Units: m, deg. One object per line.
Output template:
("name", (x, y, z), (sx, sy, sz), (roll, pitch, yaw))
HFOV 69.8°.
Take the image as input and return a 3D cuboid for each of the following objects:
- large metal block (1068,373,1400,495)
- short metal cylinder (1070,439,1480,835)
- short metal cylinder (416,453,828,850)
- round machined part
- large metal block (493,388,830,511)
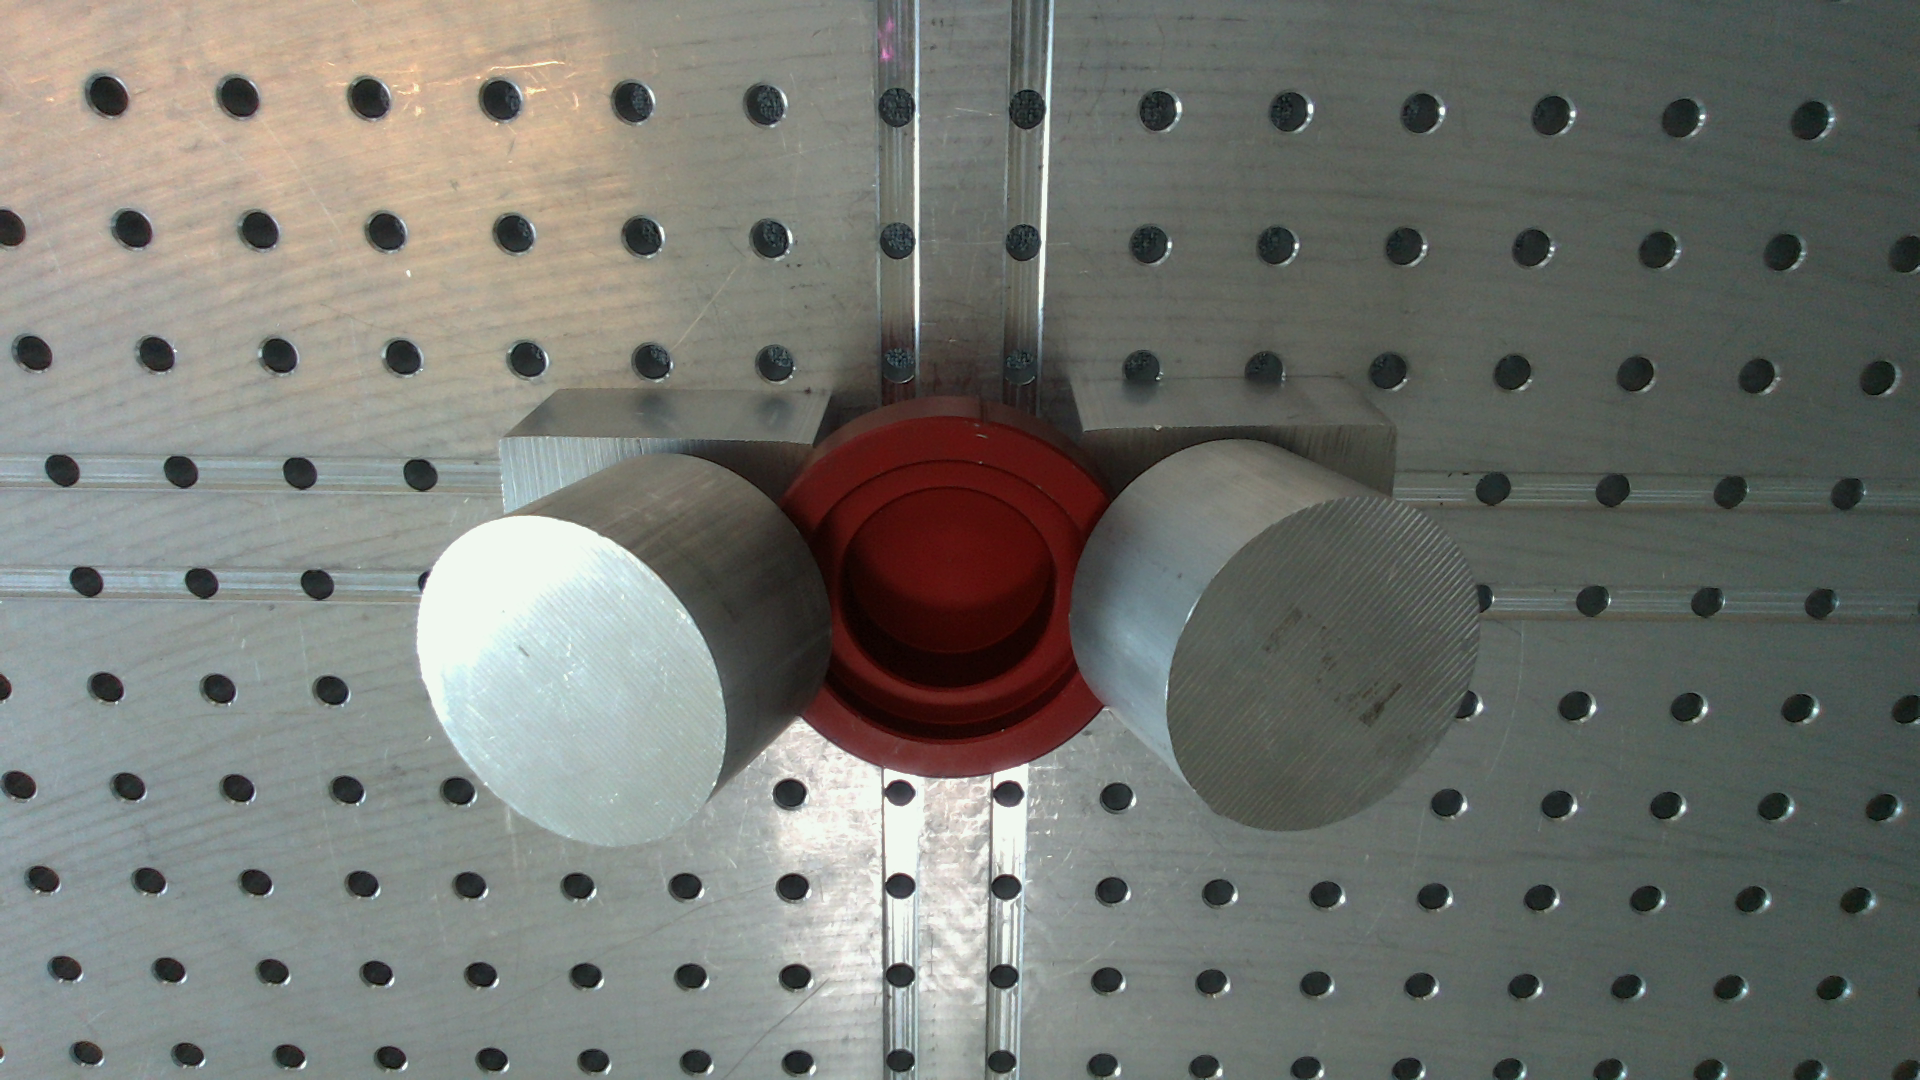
("large metal block", (0.071, -0.001, 0.383), (0.080, 0.050, 0.080), (-1, 110, 0))
("short metal cylinder", (0.073, 0.021, 0.324), (0.080, 0.050, 0.080), (-7, 111, -19))
("short metal cylinder", (-0.078, 0.025, 0.325), (0.080, 0.050, 0.080), (8, 113, 20))
("round machined part", (-0.003, 0.010, 0.360), (0.098, 0.042, 0.098), (0, 110, 0))
("large metal block", (-0.078, 0.003, 0.384), (0.080, 0.050, 0.080), (1, 110, 0))
